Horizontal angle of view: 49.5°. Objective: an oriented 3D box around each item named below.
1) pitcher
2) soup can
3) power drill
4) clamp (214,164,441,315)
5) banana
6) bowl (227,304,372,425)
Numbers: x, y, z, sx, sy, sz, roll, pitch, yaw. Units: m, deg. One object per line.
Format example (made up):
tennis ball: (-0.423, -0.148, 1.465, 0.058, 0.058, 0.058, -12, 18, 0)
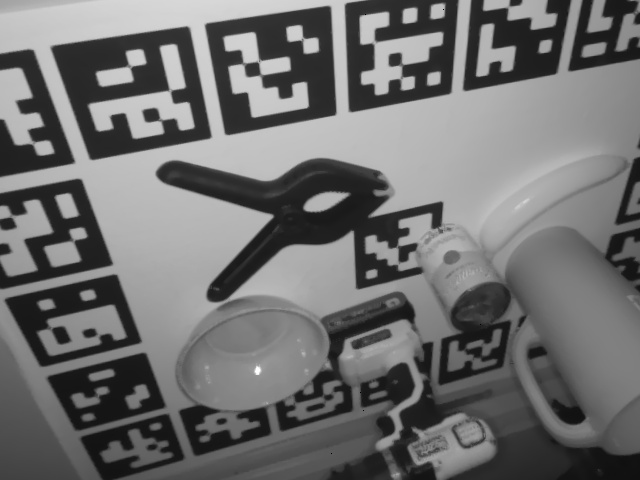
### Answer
pitcher: (0.333, 0.117, 0.747, 0.188, 0.243, 0.133, -31, 132, 5)
soup can: (0.193, 0.054, 0.742, 0.068, 0.102, 0.067, -12, 136, -11)
power drill: (0.103, 0.192, 0.729, 0.185, 0.187, 0.057, -16, 128, -7)
clamp: (0.016, -0.018, 0.658, 0.204, 0.036, 0.164, -15, 124, -9)
banana: (0.300, -0.032, 0.762, 0.197, 0.039, 0.074, -32, 137, 6)
bowl: (-0.029, 0.121, 0.738, 0.163, 0.055, 0.160, -10, 126, -13)
